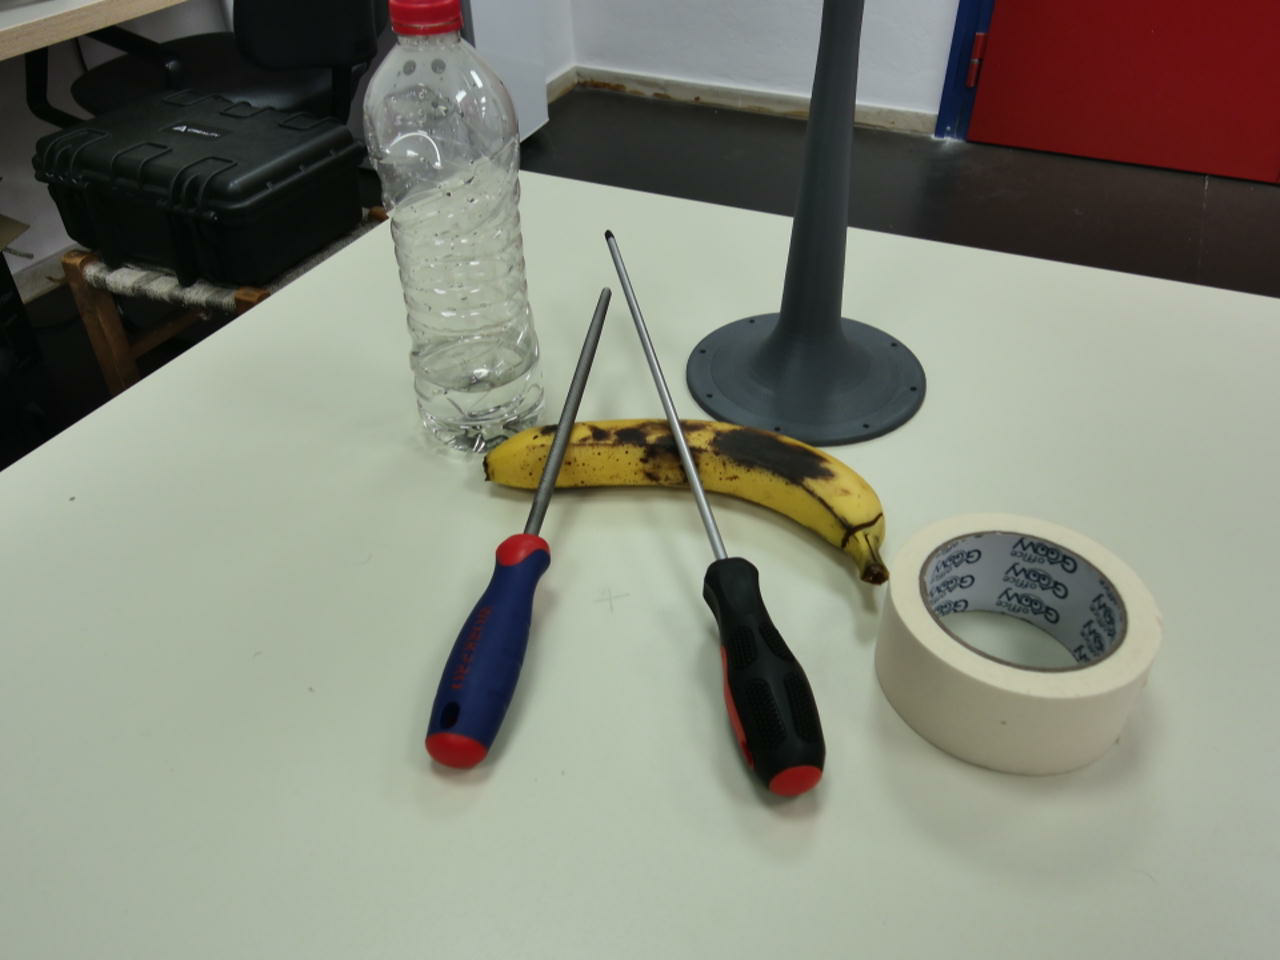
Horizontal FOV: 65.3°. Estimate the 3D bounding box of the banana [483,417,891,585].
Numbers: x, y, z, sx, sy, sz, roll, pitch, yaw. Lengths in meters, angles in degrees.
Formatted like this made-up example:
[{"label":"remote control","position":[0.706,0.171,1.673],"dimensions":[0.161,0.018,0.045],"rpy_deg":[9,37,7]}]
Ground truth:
[{"label":"banana","position":[0.030,-0.003,0.528],"dimensions":[0.222,0.037,0.084],"rpy_deg":[16,41,20]}]
